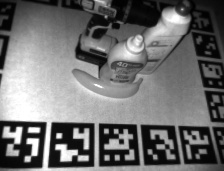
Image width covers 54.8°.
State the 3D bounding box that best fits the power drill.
[{"bbox_3d":[0.008,-0.158,0.527,0.185,0.186,0.057,18,64,-10],"label":"power drill"}]

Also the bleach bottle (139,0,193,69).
[{"bbox_3d":[0.116,-0.135,0.546,0.103,0.250,0.067,8,62,-11],"label":"bleach bottle"}]

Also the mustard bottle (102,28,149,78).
[{"bbox_3d":[0.040,-0.080,0.529,0.097,0.191,0.058,7,68,-13],"label":"mustard bottle"}]

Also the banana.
[{"bbox_3d":[0.000,-0.025,0.591,0.198,0.039,0.074,10,68,-10],"label":"banana"}]
